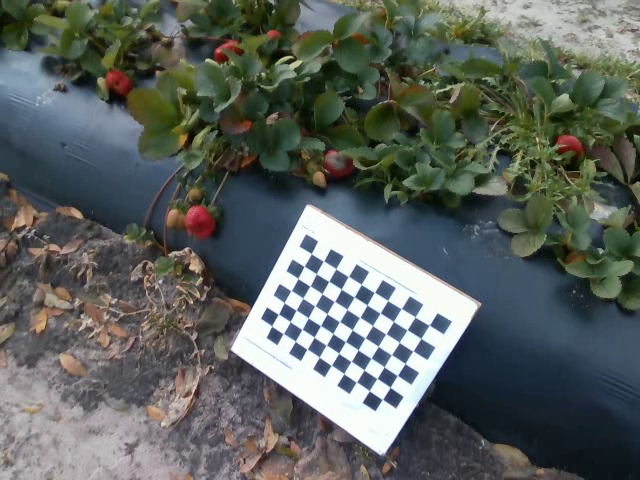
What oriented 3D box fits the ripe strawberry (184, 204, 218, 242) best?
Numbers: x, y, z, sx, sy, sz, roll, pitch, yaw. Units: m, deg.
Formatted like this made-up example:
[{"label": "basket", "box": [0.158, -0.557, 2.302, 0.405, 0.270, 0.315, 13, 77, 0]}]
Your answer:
[{"label": "ripe strawberry", "box": [-0.217, -0.041, 1.234, 0.066, 0.075, 0.052, 12, 3, 18]}]
